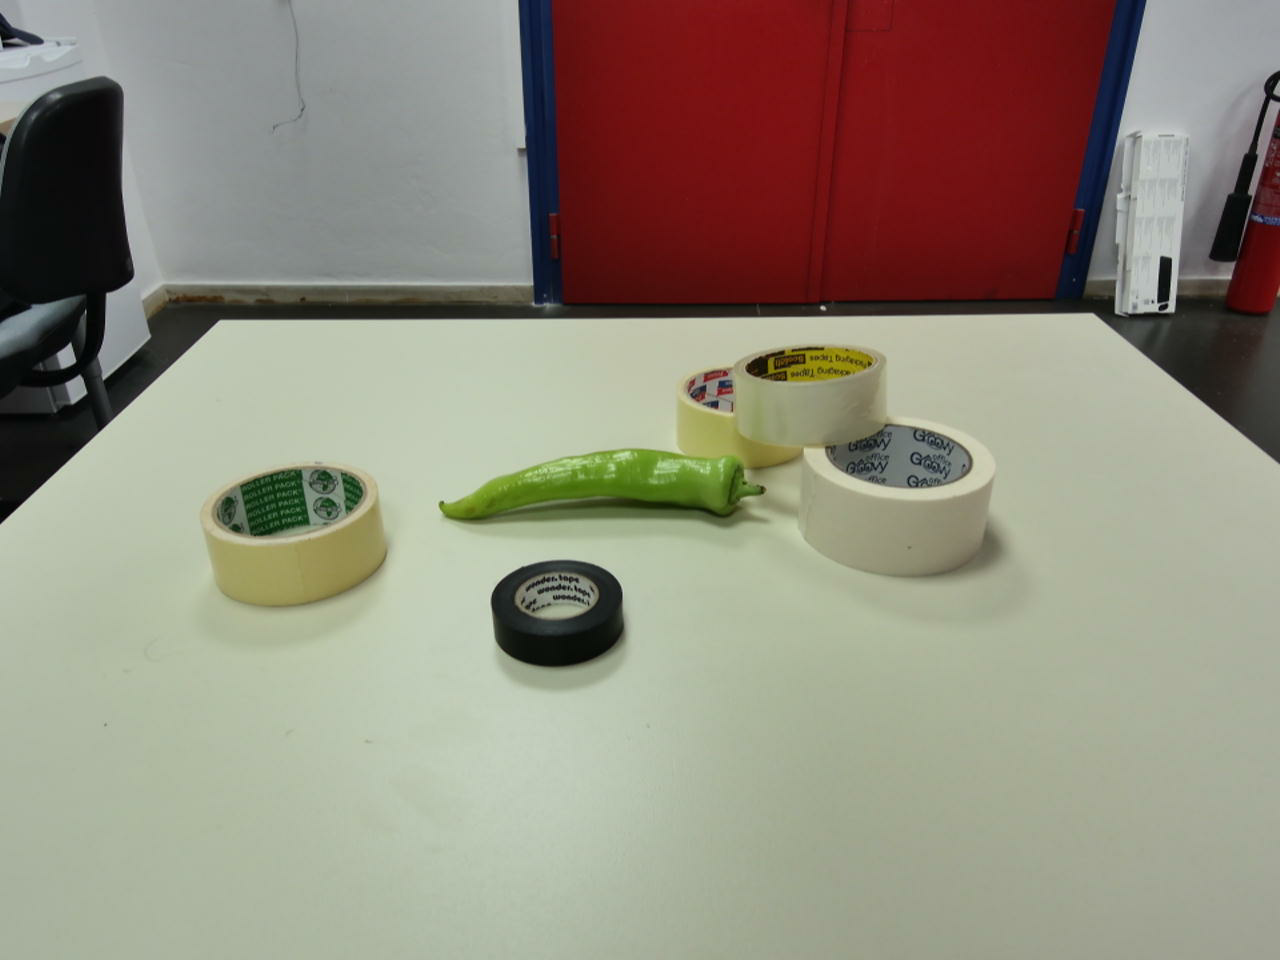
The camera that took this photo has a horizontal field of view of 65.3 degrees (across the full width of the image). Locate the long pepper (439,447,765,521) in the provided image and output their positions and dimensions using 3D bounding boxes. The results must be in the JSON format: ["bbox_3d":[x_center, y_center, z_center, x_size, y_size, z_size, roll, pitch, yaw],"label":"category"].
[{"bbox_3d":[-0.023,0.001,0.606,0.197,0.038,0.046,1,27,2],"label":"long pepper"}]
